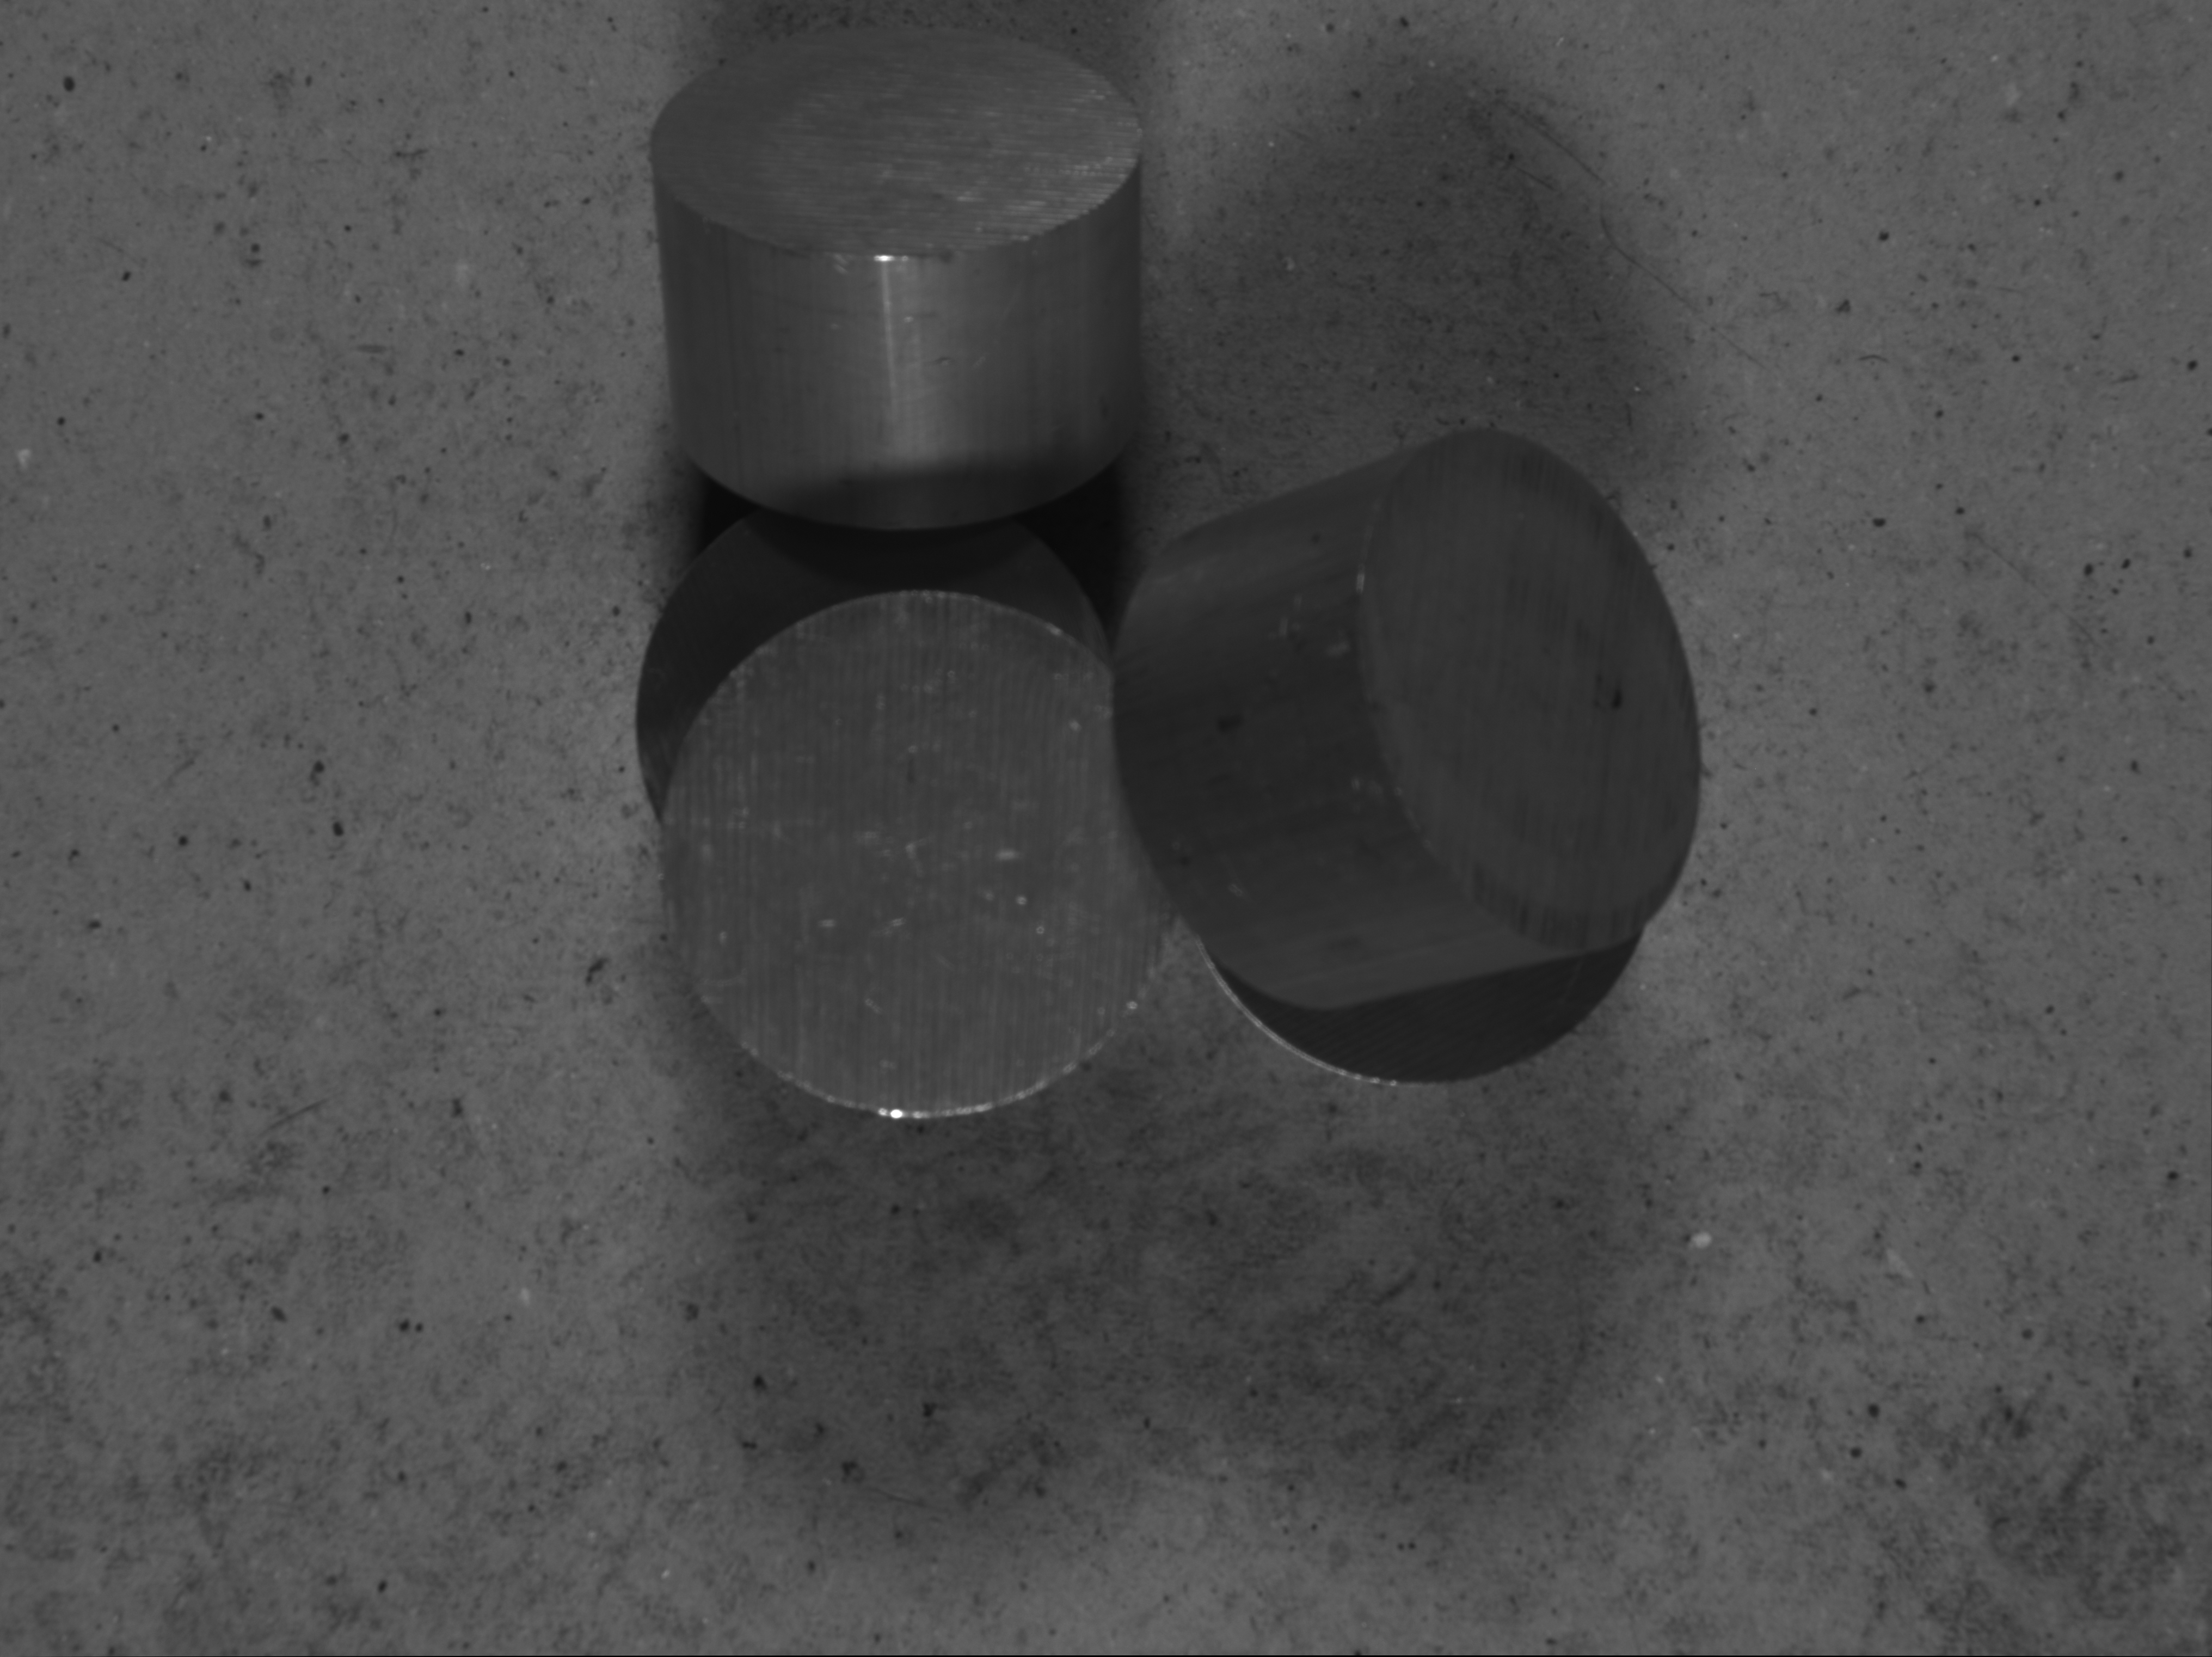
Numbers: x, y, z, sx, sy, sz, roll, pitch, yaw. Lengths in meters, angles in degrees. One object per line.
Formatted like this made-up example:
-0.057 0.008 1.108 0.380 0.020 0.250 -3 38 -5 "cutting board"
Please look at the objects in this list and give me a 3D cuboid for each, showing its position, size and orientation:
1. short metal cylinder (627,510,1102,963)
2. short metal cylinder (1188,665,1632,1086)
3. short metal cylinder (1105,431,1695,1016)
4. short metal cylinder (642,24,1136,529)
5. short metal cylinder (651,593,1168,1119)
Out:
-0.040 -0.018 0.632 0.080 0.050 0.080 0 90 0 "short metal cylinder"
0.050 0.003 0.633 0.080 0.050 0.080 0 90 0 "short metal cylinder"
0.046 -0.015 0.561 0.050 0.080 0.080 -17 90 42 "short metal cylinder"
-0.035 -0.093 0.611 0.080 0.080 0.050 0 129 0 "short metal cylinder"
-0.029 0.004 0.582 0.080 0.050 0.080 0 90 0 "short metal cylinder"
